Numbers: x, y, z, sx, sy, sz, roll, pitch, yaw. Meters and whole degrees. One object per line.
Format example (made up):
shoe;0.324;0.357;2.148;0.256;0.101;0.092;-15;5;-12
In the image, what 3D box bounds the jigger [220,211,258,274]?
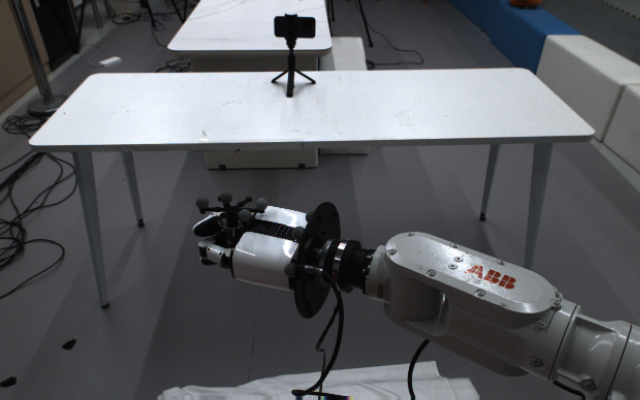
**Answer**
jigger;-0.120;0.059;0.697;0.043;0.071;0.043;3;25;-1
